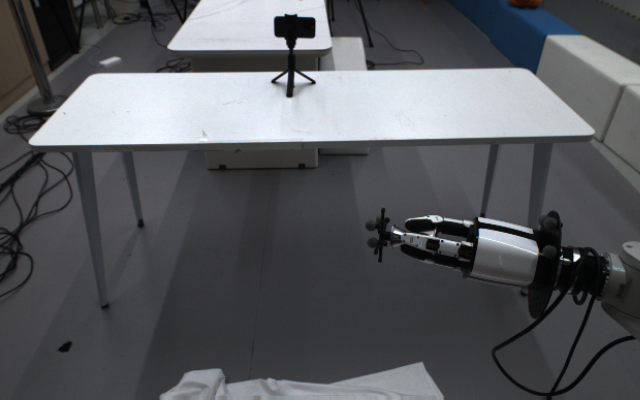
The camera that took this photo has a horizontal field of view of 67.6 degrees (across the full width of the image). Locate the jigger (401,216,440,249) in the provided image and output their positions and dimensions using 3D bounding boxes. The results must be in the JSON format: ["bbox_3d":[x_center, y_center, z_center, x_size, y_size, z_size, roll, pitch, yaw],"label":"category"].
[{"bbox_3d":[0.154,0.055,0.760,0.071,0.043,0.043,4,34,19],"label":"jigger"}]
